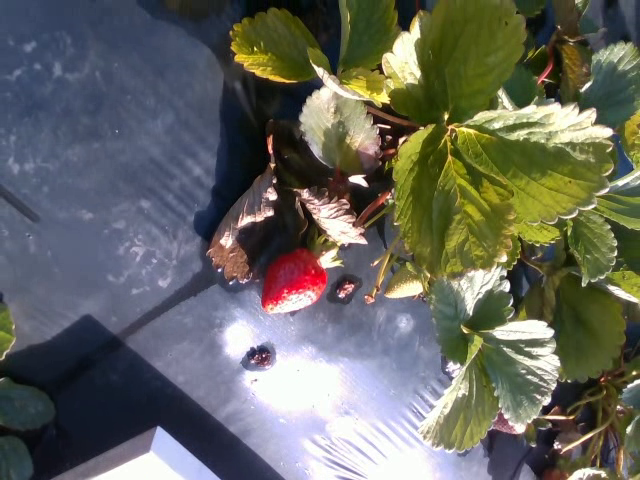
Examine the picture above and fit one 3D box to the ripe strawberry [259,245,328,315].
[{"bbox_3d":[-0.021,0.028,0.304,0.054,0.047,0.037,-36,37,-30],"label":"ripe strawberry"}]
